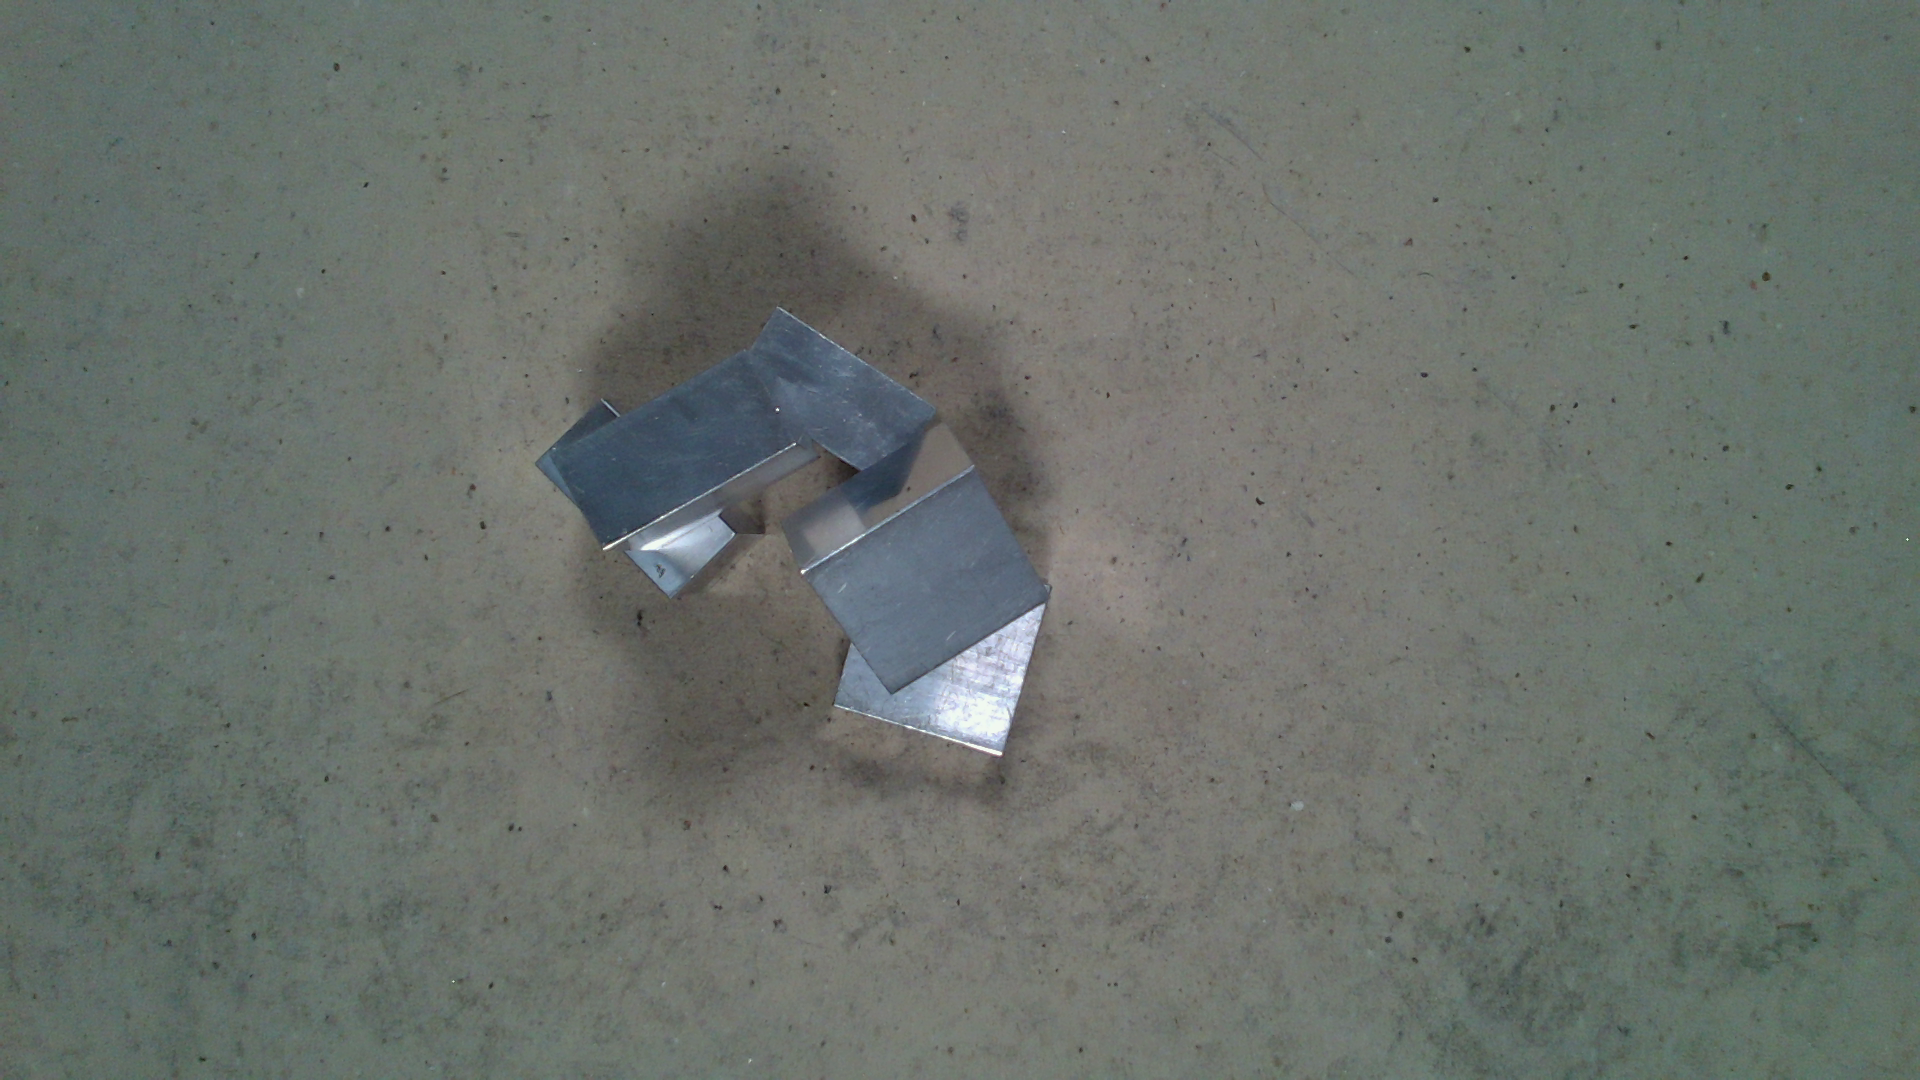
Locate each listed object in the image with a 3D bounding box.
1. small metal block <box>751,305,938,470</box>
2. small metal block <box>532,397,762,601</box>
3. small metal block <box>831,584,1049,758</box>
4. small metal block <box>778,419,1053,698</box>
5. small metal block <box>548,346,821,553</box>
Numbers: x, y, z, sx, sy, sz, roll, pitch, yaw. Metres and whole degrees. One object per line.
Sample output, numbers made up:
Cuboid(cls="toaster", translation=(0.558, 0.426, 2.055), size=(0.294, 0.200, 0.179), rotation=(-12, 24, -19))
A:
Cuboid(cls="small metal block", translation=(-0.034, -0.037, 0.383), size=(0.050, 0.050, 0.025), rotation=(32, 90, 0))
Cuboid(cls="small metal block", translation=(-0.085, -0.011, 0.383), size=(0.025, 0.050, 0.050), rotation=(-45, 90, 0))
Cuboid(cls="small metal block", translation=(-0.005, 0.030, 0.396), size=(0.050, 0.025, 0.050), rotation=(16, 90, 0))
Cuboid(cls="small metal block", translation=(-0.011, 0.005, 0.358), size=(0.050, 0.025, 0.050), rotation=(-31, 127, 0))
Cuboid(cls="small metal block", translation=(-0.064, -0.020, 0.333), size=(0.050, 0.050, 0.025), rotation=(-29, 90, 0))
